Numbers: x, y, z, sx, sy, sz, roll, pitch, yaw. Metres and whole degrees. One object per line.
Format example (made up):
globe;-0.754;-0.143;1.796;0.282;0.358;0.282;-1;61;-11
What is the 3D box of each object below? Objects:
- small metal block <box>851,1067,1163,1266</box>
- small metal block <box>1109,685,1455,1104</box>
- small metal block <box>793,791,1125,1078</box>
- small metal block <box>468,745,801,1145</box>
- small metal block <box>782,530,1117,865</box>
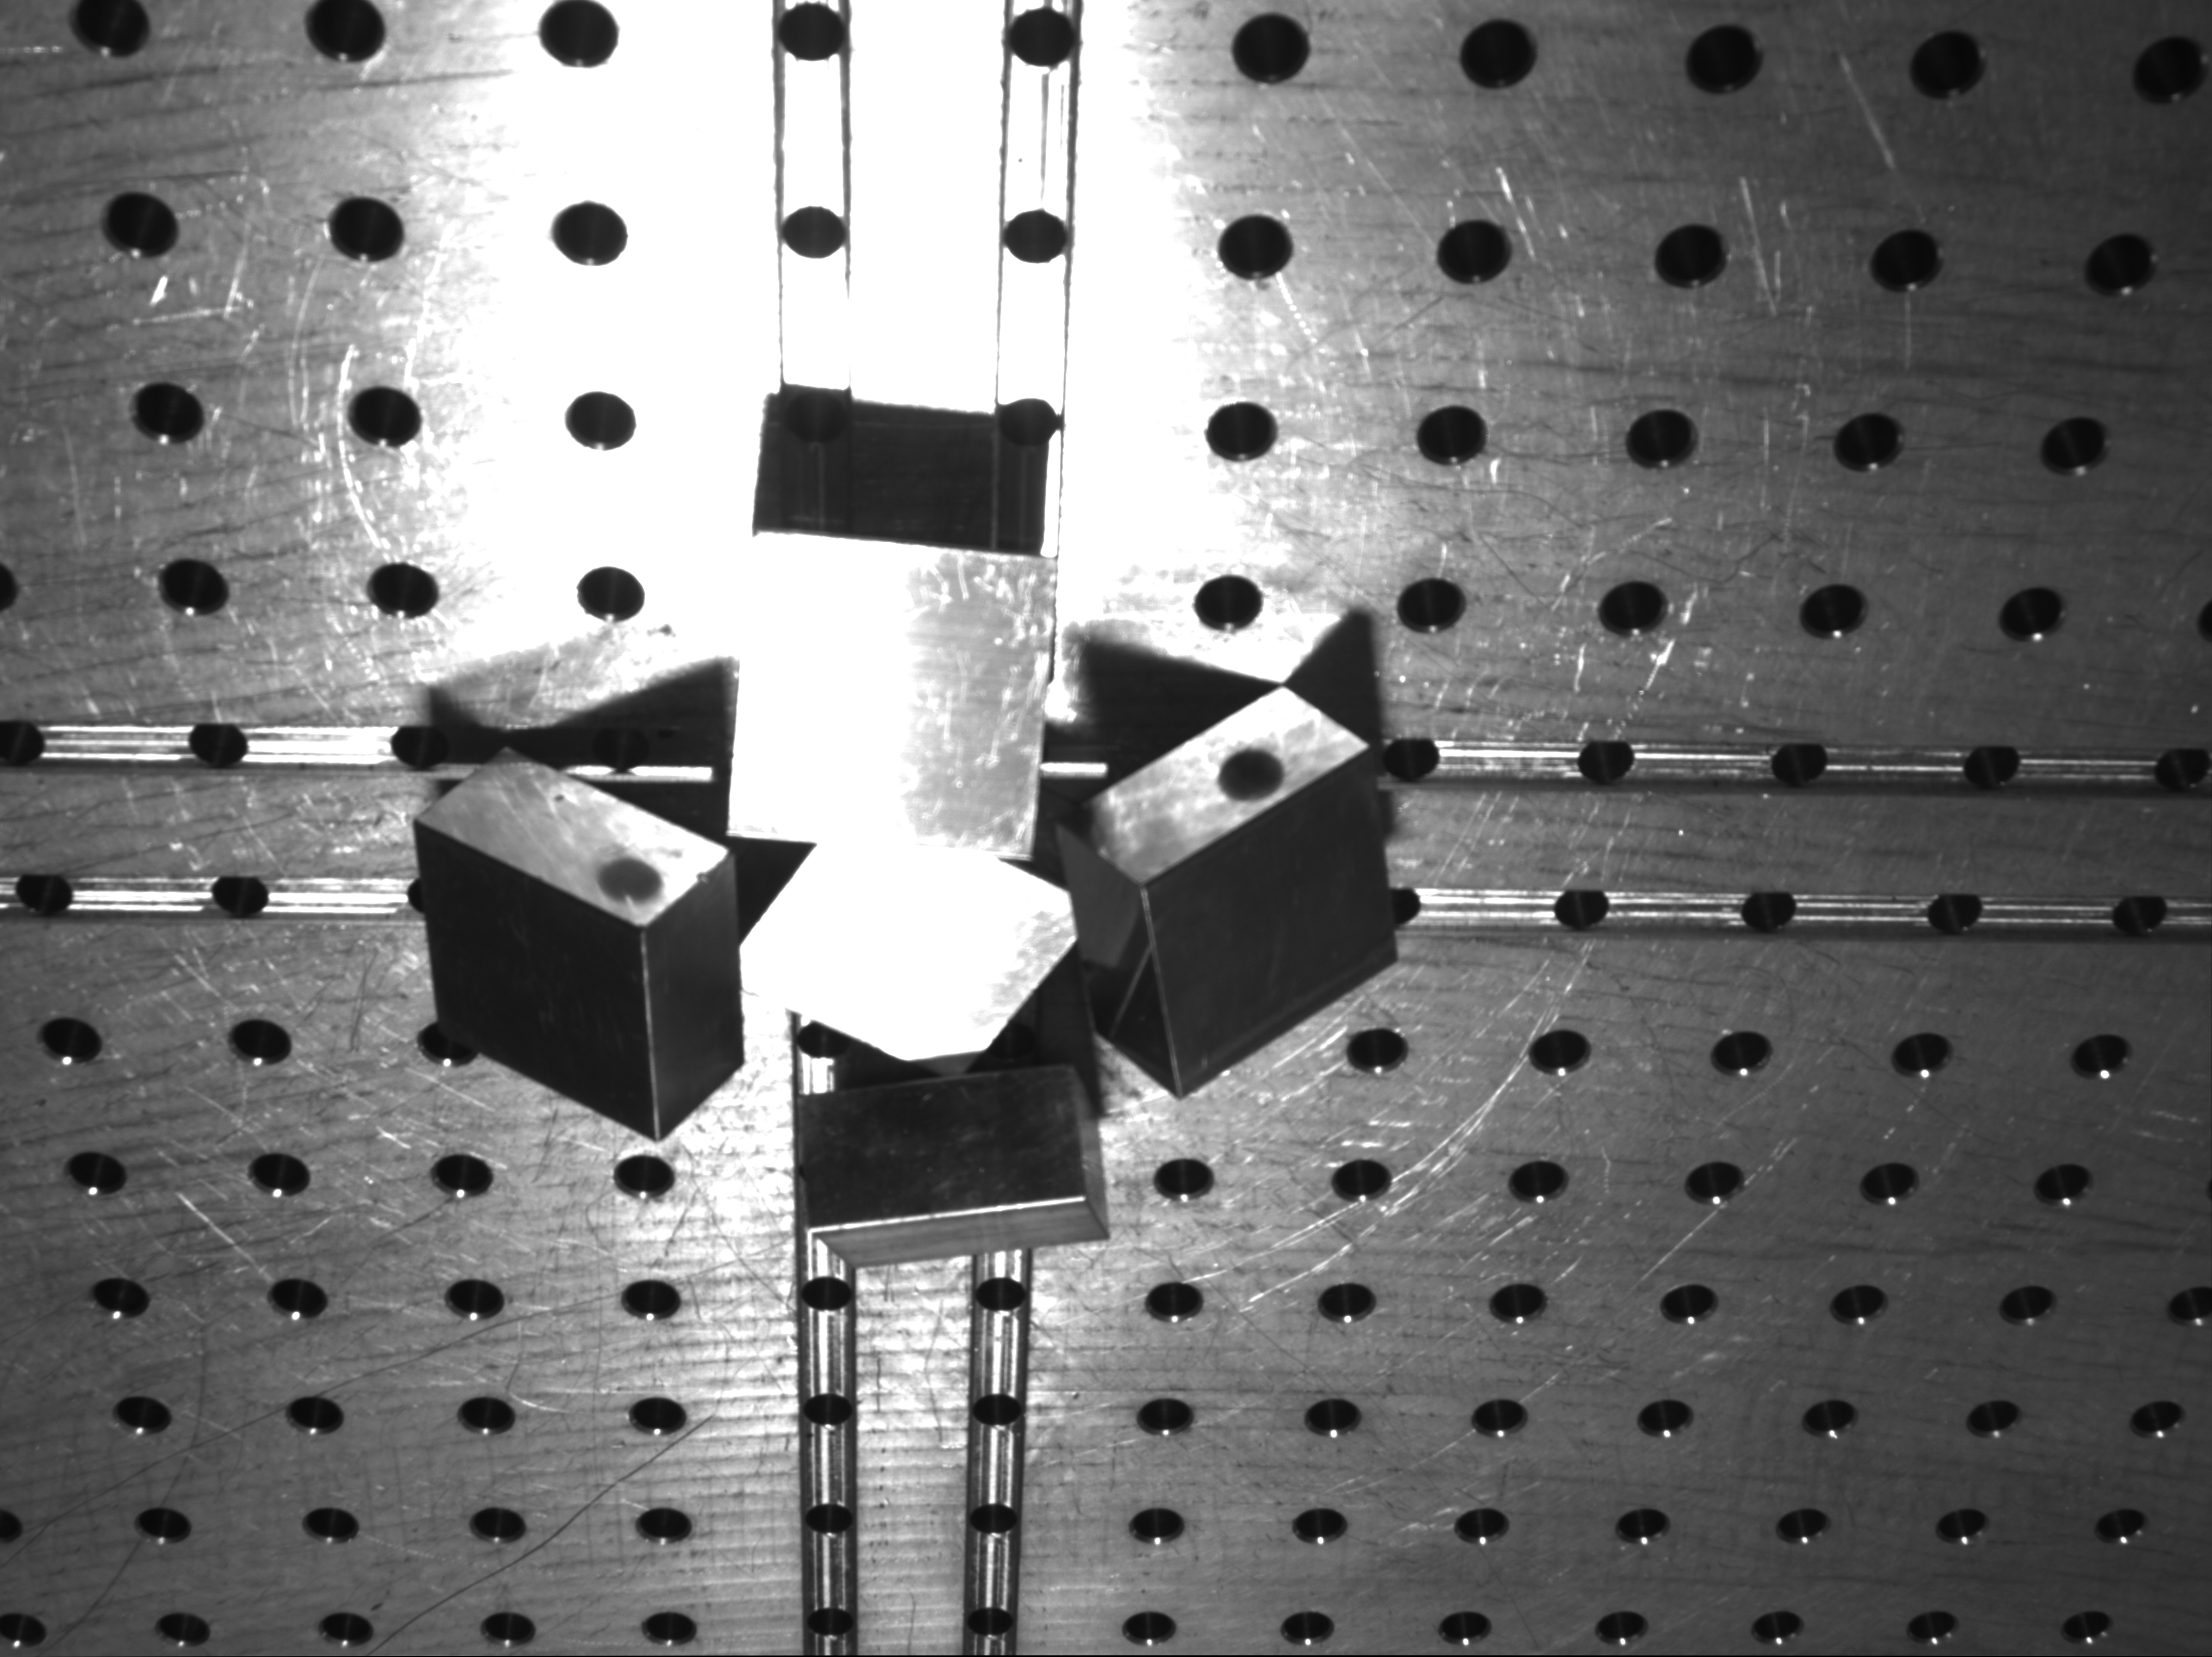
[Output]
small metal block;-0.017;0.064;0.678;0.050;0.025;0.050;-7;165;4
small metal block;0.031;0.011;0.636;0.050;0.025;0.050;-31;133;-22
small metal block;-0.025;0.012;0.650;0.050;0.025;0.050;25;125;-21
small metal block;-0.082;0.020;0.641;0.050;0.025;0.050;24;135;24
small metal block;-0.026;-0.022;0.606;0.050;0.025;0.050;5;94;-6
